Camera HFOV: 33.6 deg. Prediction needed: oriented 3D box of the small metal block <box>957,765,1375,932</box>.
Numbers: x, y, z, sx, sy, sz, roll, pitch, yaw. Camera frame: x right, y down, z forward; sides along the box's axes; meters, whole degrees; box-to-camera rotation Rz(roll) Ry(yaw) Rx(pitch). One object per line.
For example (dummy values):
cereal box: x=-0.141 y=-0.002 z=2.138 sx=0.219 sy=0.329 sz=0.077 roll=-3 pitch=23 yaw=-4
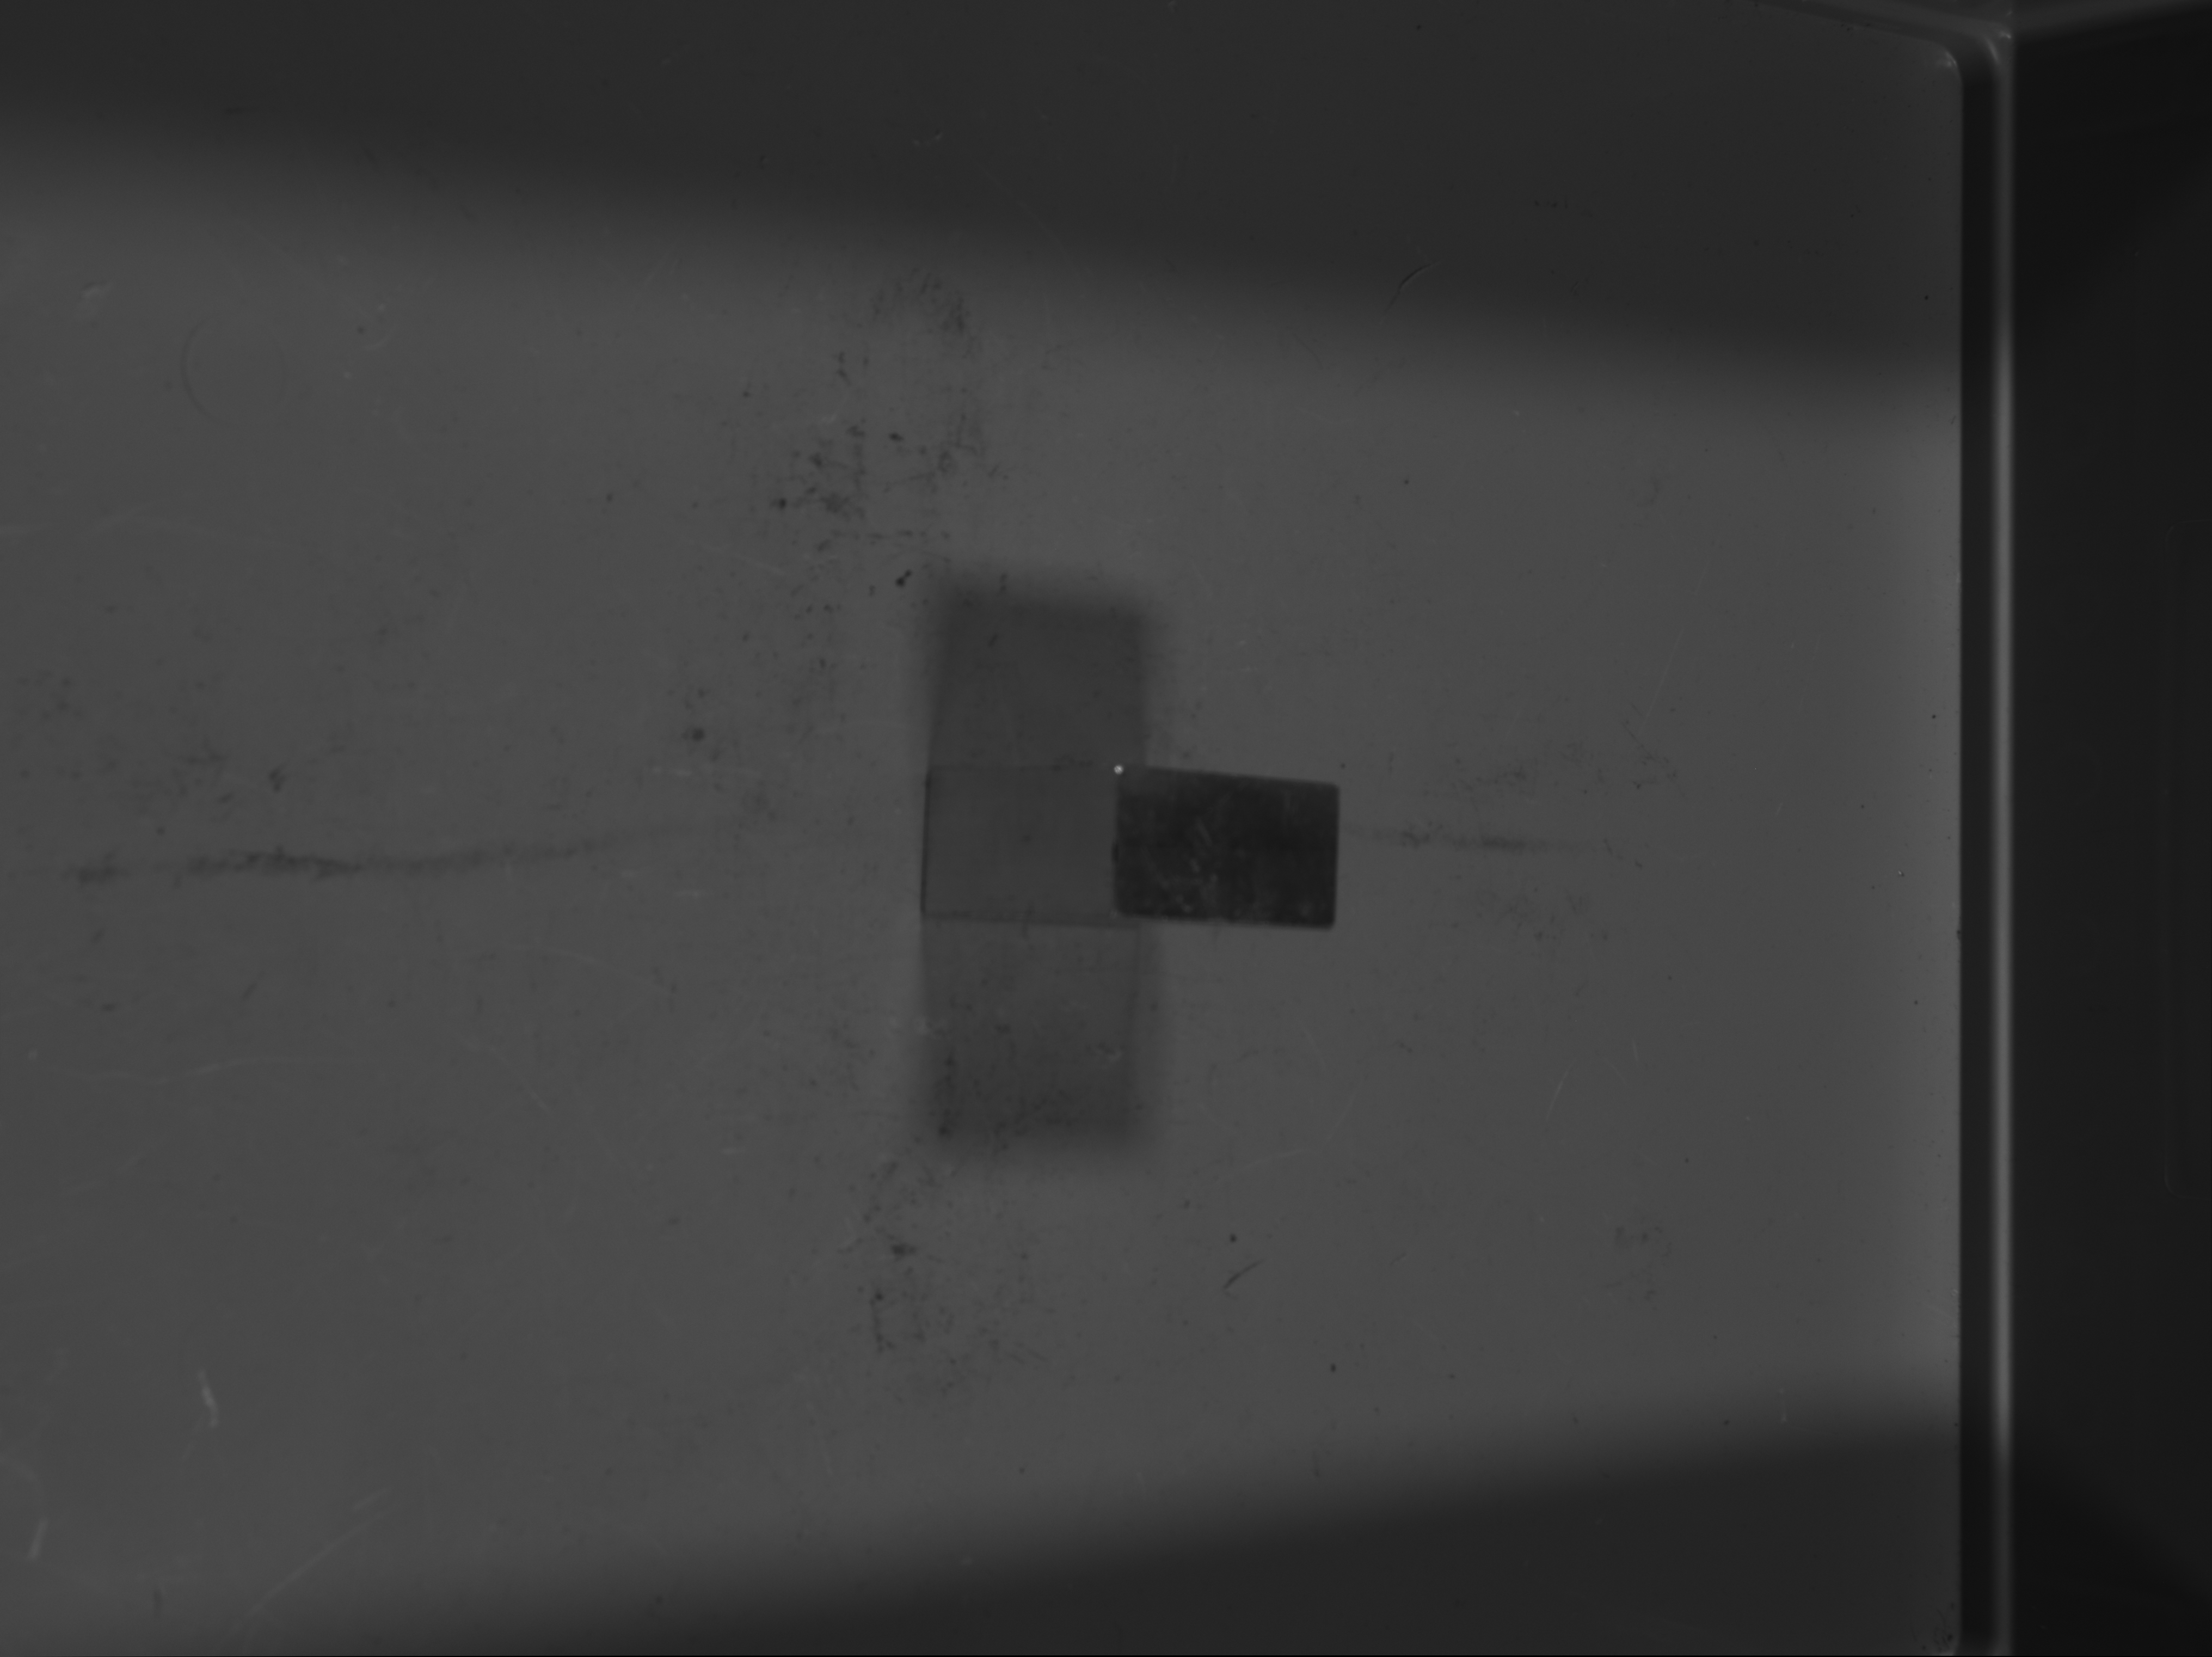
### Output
small metal block: x=0.010 y=0.004 z=0.625 sx=0.050 sy=0.050 sz=0.025 roll=4 pitch=87 yaw=-40
